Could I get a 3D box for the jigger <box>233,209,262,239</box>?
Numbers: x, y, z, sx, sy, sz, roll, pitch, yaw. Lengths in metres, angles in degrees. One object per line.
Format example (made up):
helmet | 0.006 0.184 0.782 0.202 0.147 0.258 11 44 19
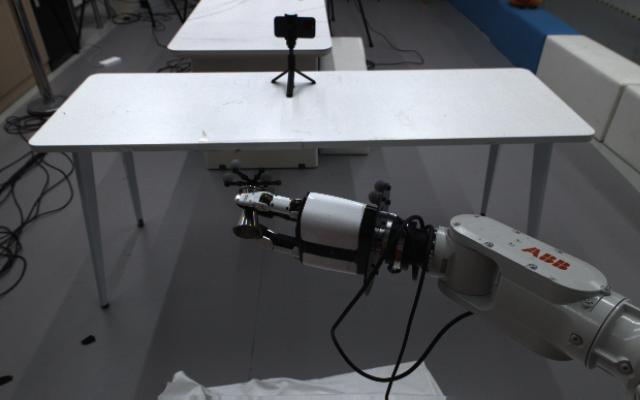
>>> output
jigger | -0.105 0.016 0.715 0.043 0.043 0.071 2 59 0
